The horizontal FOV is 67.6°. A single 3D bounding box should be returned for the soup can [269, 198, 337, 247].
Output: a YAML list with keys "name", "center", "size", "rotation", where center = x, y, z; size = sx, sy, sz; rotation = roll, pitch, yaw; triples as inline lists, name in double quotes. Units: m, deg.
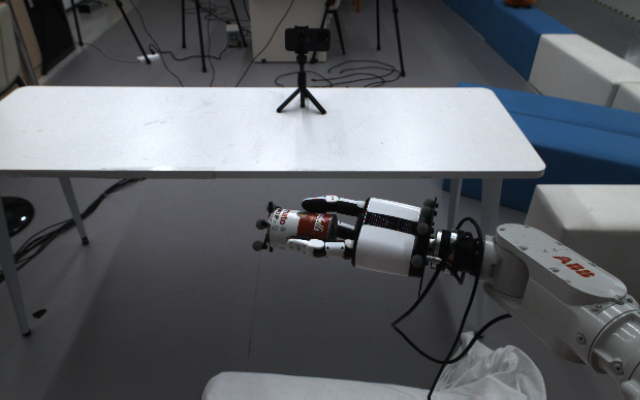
- name: "soup can"
  center: [-0.026, 0.052, 0.789]
  size: [0.101, 0.067, 0.067]
  rotation: [6, 35, 13]
